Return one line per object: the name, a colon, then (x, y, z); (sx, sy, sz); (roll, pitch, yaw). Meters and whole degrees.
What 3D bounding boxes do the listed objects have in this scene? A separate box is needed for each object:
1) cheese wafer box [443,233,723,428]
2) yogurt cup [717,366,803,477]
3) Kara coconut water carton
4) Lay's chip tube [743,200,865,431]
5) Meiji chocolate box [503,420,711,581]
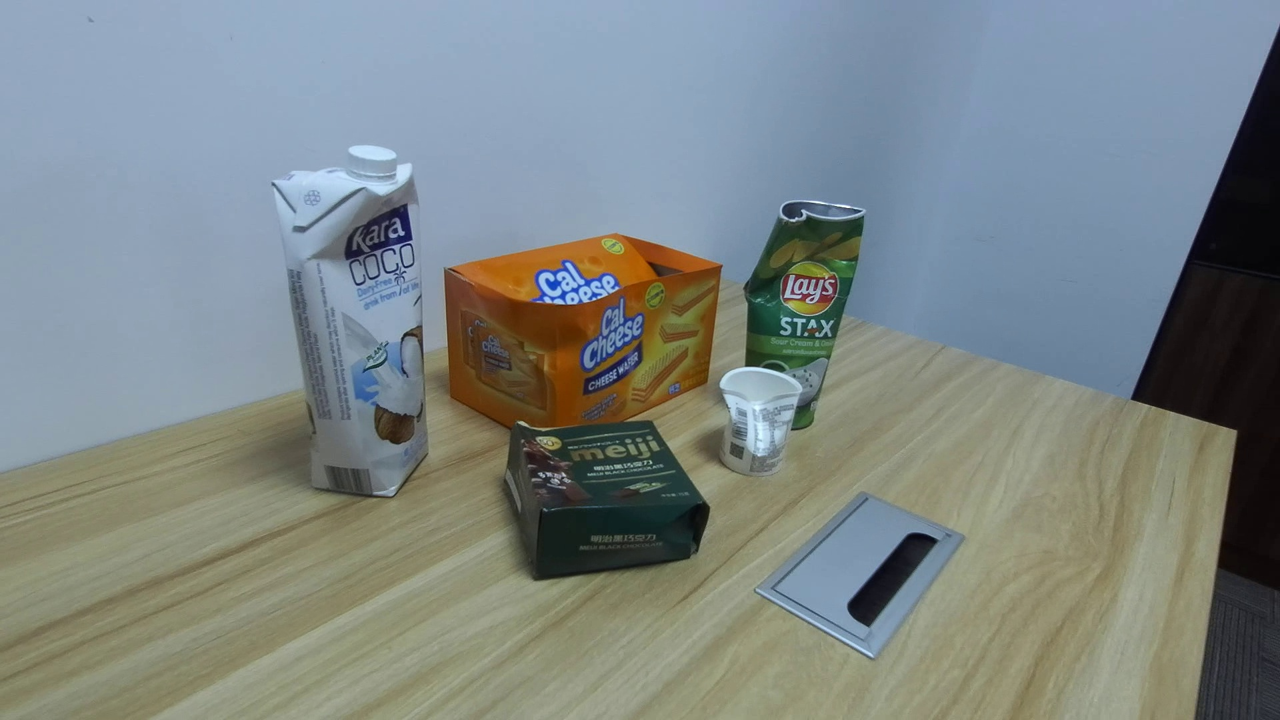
cheese wafer box: (-0.048, -0.026, 0.666); (0.151, 0.132, 0.231); (24, 29, 35)
yogurt cup: (0.095, 0.051, 0.579); (0.067, 0.070, 0.067); (2, 23, 0)
Kara coconut water carton: (-0.193, -0.024, 0.489); (0.069, 0.238, 0.115); (7, 24, 4)
Lay's chip tube: (0.140, -0.040, 0.635); (0.069, 0.201, 0.077); (22, 32, 35)
Meiji chocolate box: (-0.027, 0.091, 0.490); (0.116, 0.058, 0.122); (0, 24, -20)
